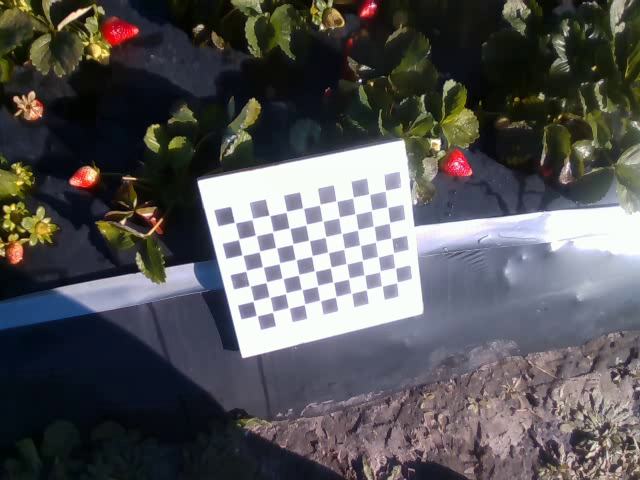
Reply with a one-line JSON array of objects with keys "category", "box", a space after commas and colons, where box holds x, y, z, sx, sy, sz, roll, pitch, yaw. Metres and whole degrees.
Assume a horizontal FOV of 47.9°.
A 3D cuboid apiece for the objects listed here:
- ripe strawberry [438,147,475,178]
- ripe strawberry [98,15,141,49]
[{"category": "ripe strawberry", "box": [0.211, -0.115, 1.081, 0.054, 0.048, 0.029, 32, 8, -21]}, {"category": "ripe strawberry", "box": [-0.301, -0.313, 1.071, 0.064, 0.049, 0.052, -2, 20, -3]}]
